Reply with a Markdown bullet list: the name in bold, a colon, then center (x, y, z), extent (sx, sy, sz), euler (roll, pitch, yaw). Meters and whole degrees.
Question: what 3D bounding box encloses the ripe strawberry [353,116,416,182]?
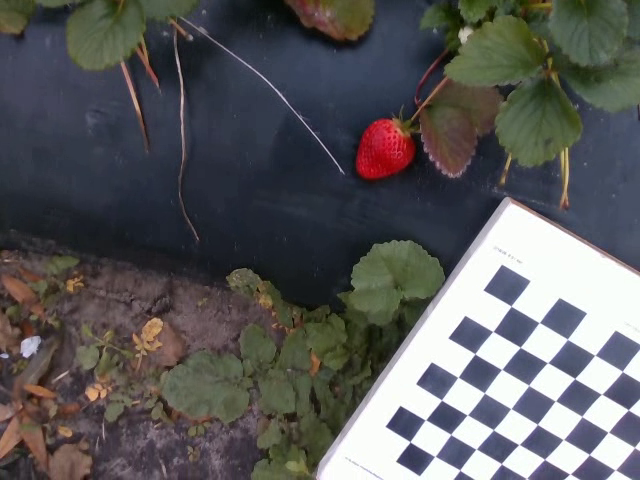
- **ripe strawberry**: center (0.028, -0.041, 0.283), extent (0.032, 0.028, 0.022), euler (-43, 1, 16)
